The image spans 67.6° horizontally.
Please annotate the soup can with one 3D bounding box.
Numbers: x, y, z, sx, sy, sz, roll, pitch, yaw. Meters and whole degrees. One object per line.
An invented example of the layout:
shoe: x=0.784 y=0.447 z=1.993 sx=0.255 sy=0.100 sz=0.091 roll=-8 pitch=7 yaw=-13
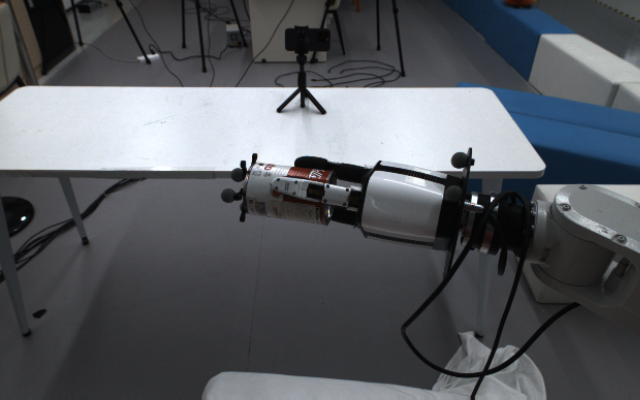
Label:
soup can: x=-0.034 y=-0.009 z=0.598 sx=0.101 sy=0.067 sz=0.067 roll=7 pitch=35 yaw=10
